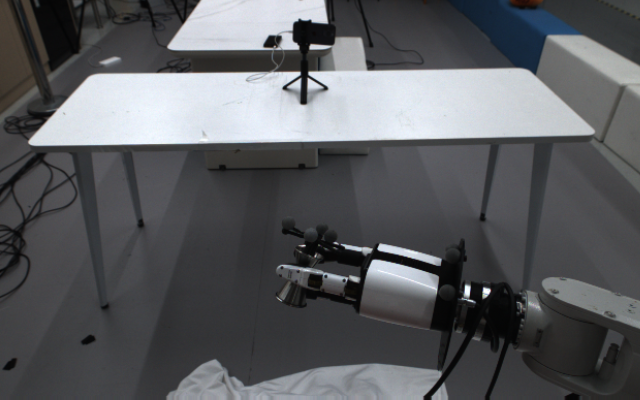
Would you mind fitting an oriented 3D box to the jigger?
[{"bbox_3d":[-0.026,0.096,0.616,0.043,0.071,0.043,22,6,-2],"label":"jigger"}]
